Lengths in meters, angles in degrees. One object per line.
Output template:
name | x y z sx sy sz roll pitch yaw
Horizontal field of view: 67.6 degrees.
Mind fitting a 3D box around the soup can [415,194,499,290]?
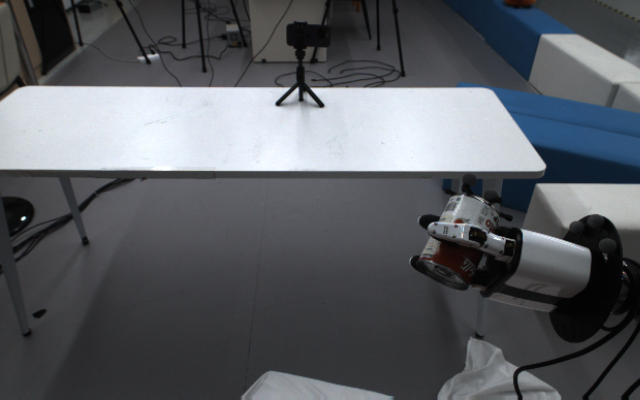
soup can | 0.174 0.050 0.598 0.067 0.067 0.101 22 71 26
